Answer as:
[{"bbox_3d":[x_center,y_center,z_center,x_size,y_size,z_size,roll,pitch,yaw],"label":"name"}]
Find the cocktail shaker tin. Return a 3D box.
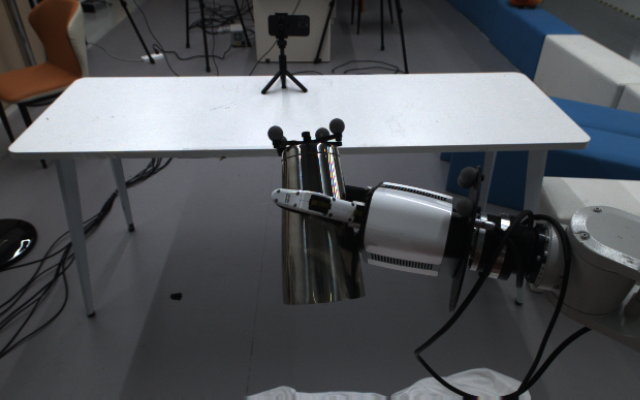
[{"bbox_3d":[-0.002,0.027,0.547,0.093,0.170,0.093,-6,-7,-1],"label":"cocktail shaker tin"}]
